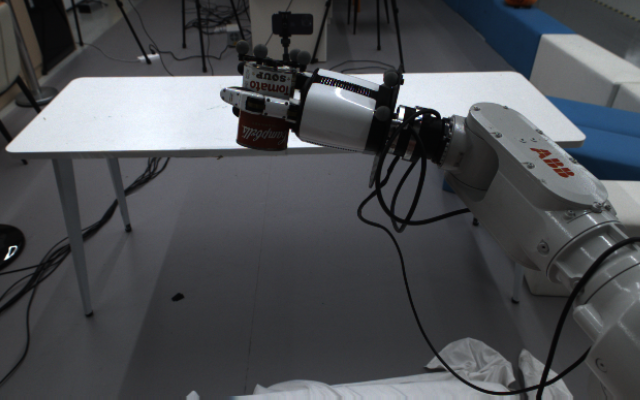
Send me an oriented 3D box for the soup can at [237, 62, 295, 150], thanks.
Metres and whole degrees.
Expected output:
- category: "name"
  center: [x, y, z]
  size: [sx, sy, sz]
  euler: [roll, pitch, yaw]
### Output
- category: "soup can"
  center: [-0.067, -0.120, 0.615]
  size: [0.067, 0.101, 0.067]
  euler: [8, 19, -3]
